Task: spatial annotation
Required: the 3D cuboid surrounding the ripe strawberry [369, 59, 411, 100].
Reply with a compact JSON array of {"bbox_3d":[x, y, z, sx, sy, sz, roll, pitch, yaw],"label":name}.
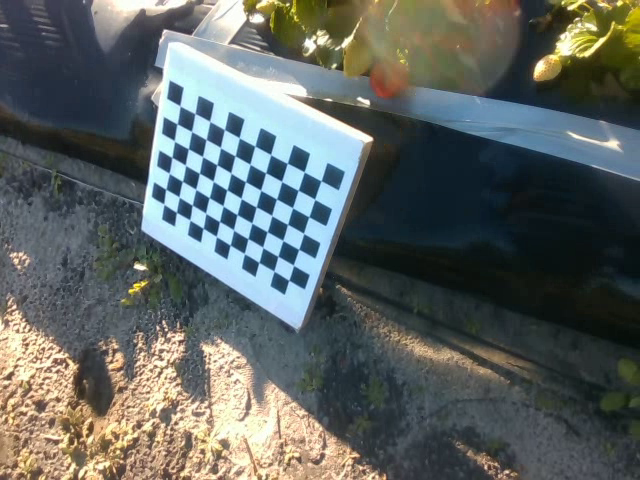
[{"bbox_3d":[0.069,-0.171,0.751,0.048,0.064,0.045,32,-49,-14],"label":"ripe strawberry"}]
